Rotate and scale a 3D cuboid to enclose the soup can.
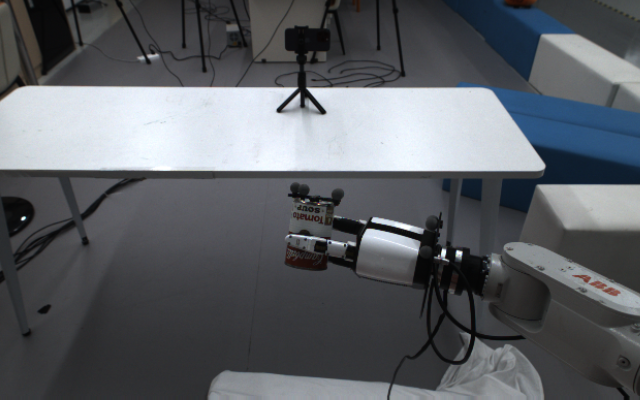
[{"bbox_3d":[-0.014,0.051,0.744,0.067,0.101,0.067,7,4,0],"label":"soup can"}]
